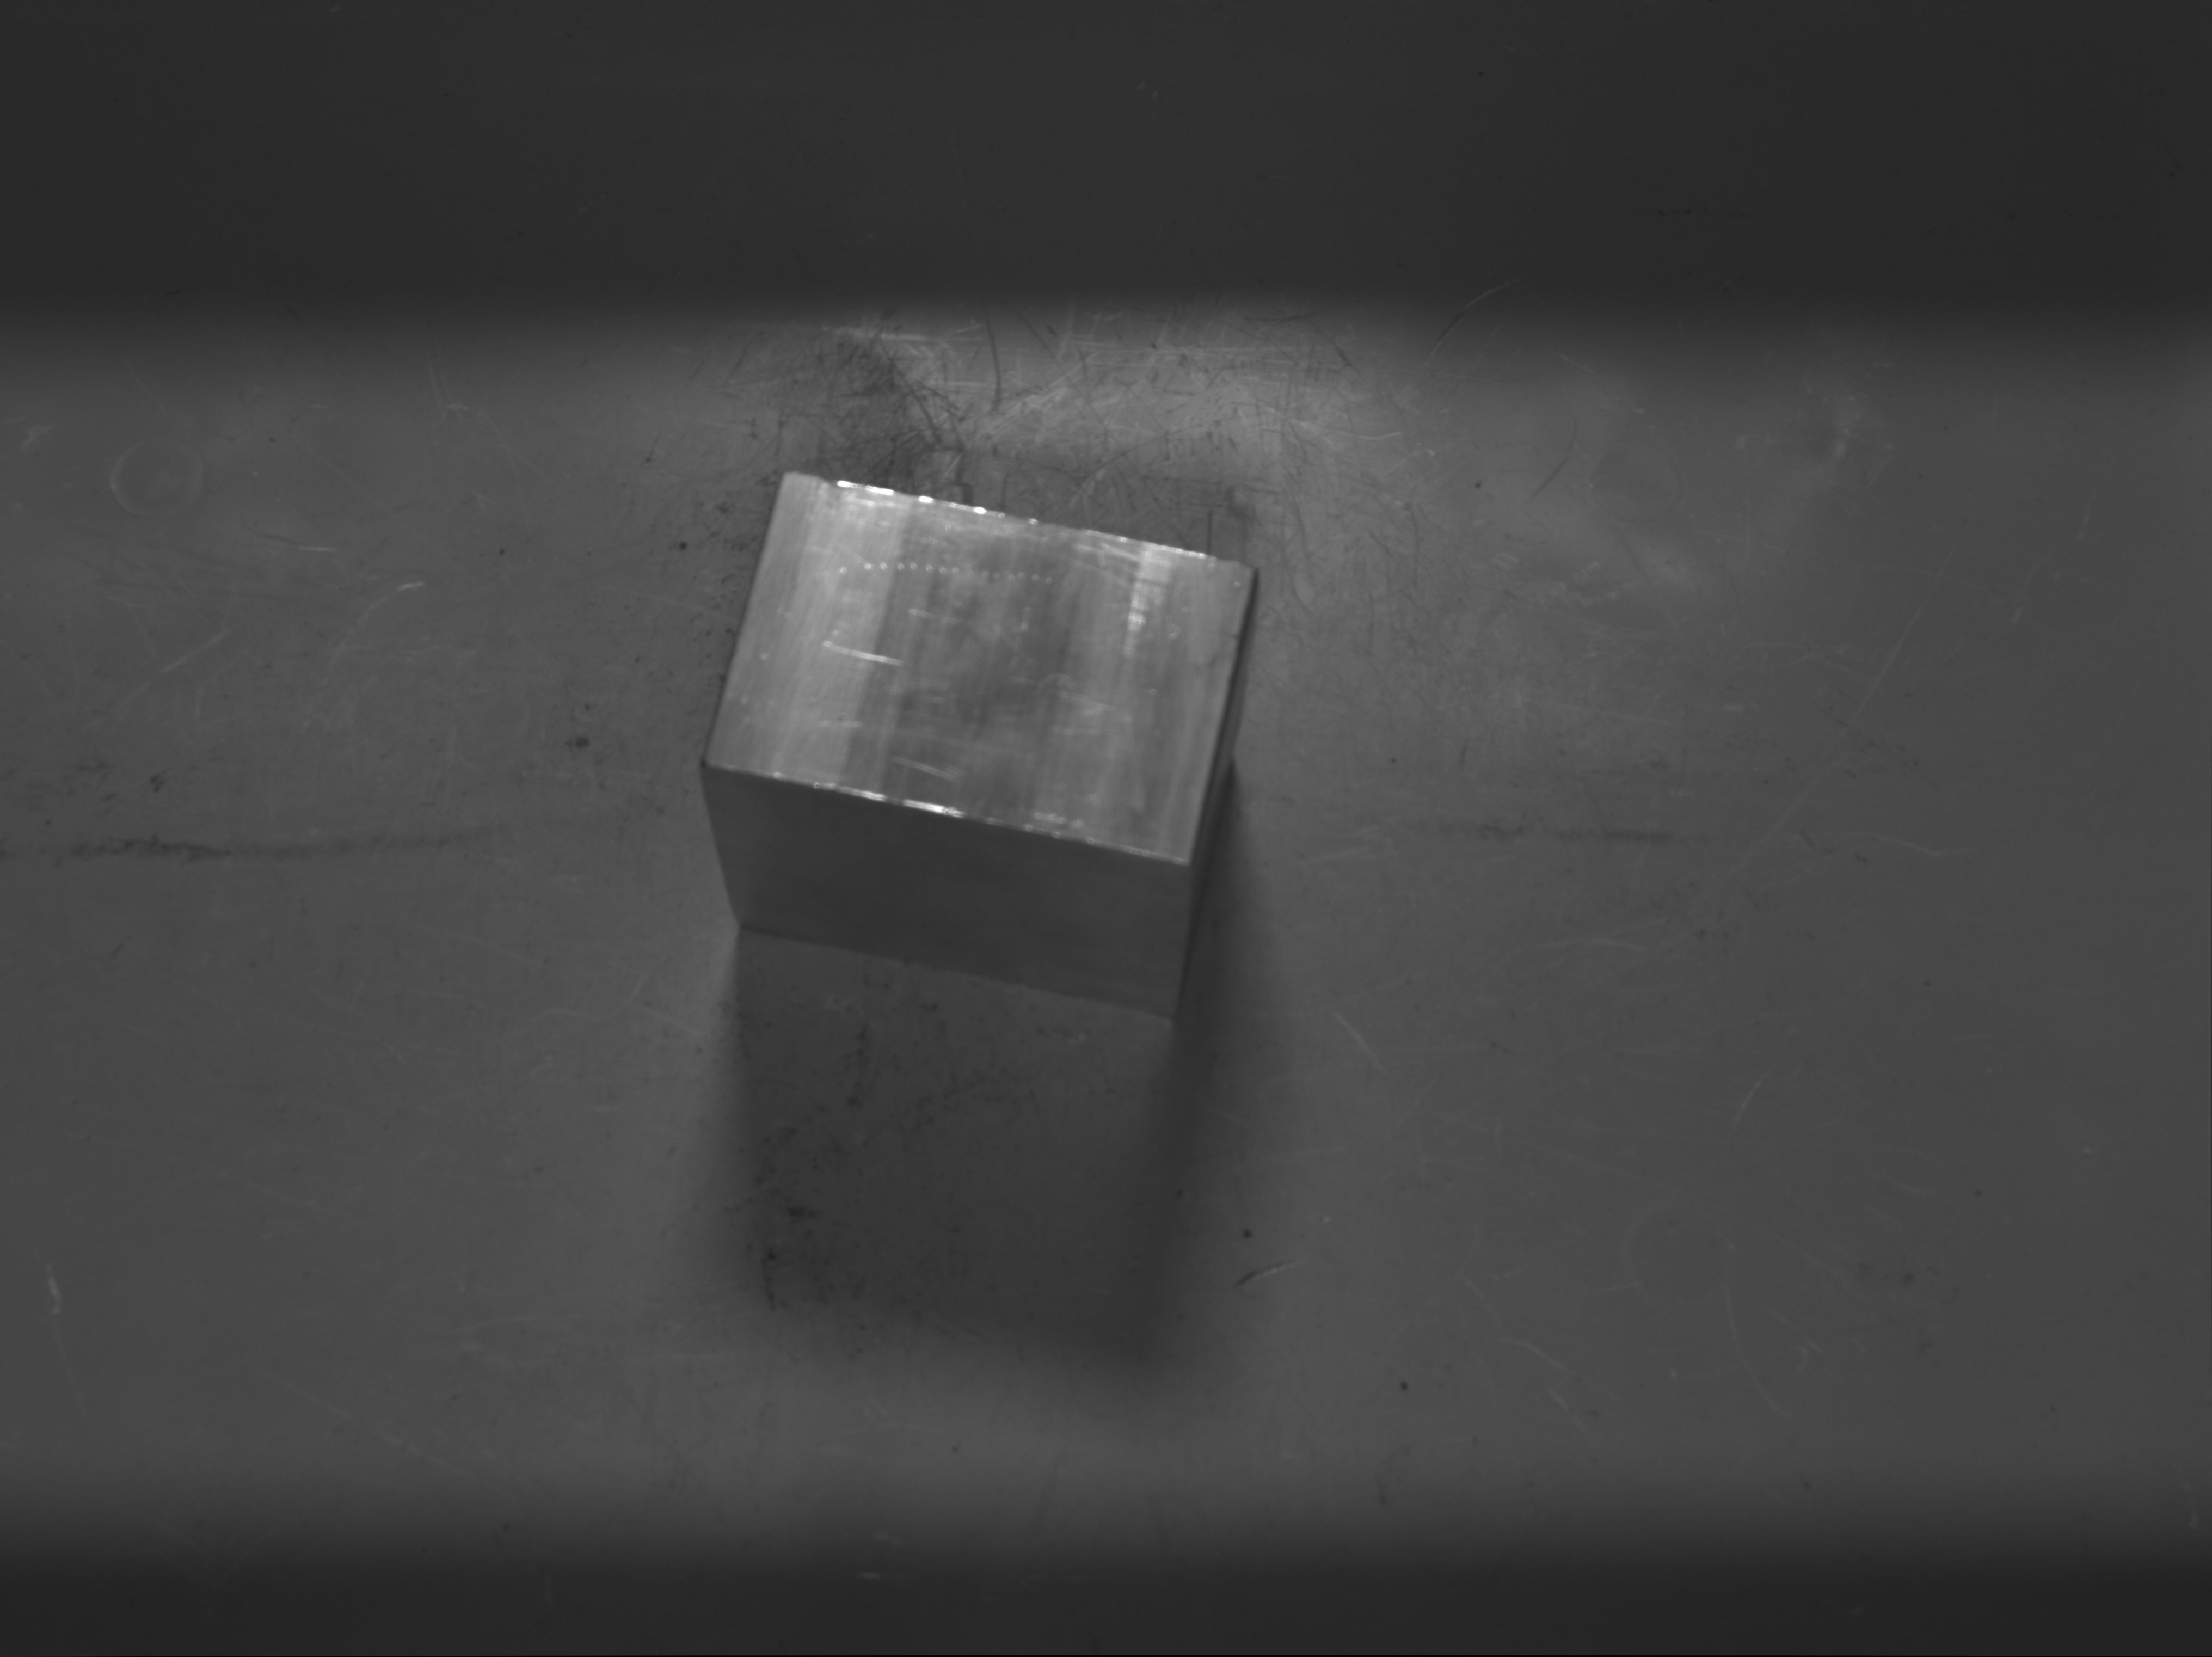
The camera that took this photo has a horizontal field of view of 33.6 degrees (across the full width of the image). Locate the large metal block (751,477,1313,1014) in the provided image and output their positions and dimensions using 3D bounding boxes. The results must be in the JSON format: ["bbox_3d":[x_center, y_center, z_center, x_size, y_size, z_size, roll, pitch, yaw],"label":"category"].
[{"bbox_3d":[-0.011,-0.012,0.618,0.080,0.080,0.050,12,70,4],"label":"large metal block"}]
